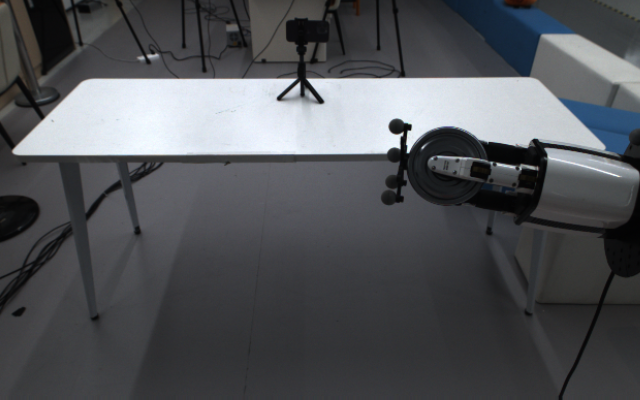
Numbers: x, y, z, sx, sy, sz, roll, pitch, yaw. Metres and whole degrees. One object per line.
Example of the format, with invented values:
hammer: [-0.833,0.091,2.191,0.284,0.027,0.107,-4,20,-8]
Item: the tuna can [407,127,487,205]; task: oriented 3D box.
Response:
tuna can: [0.141,-0.039,0.531,0.085,0.085,0.034,10,1,11]
